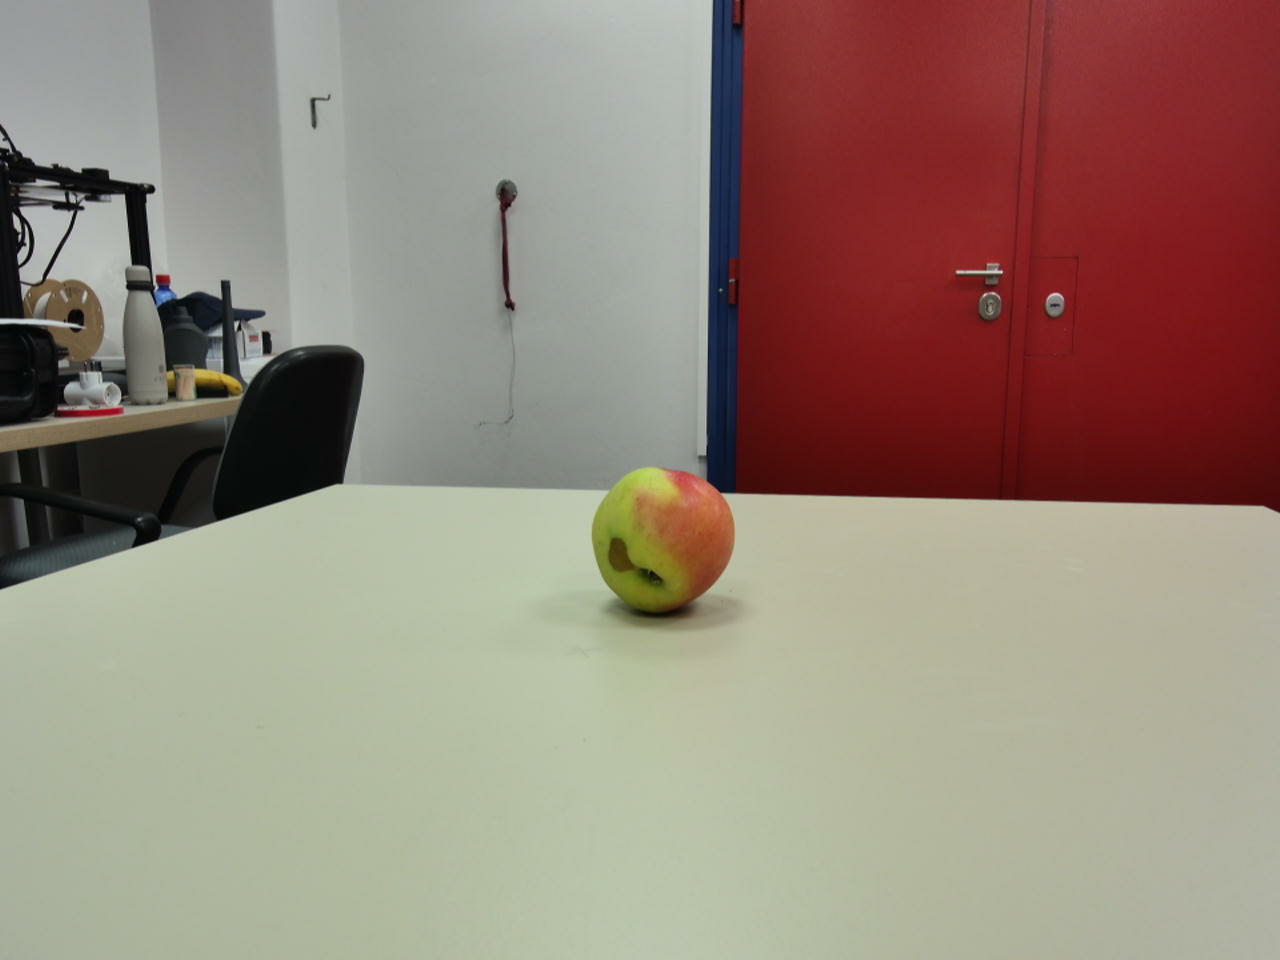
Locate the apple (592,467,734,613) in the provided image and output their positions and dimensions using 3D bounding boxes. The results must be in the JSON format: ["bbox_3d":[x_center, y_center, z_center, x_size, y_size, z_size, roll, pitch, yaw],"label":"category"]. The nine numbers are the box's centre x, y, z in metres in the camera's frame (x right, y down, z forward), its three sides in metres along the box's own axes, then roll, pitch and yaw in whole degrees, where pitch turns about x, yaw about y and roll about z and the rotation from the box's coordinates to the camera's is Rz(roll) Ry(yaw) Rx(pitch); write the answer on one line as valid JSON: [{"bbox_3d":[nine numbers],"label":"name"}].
[{"bbox_3d":[0.013,0.031,0.526,0.075,0.074,0.075,-1,6,-8],"label":"apple"}]
